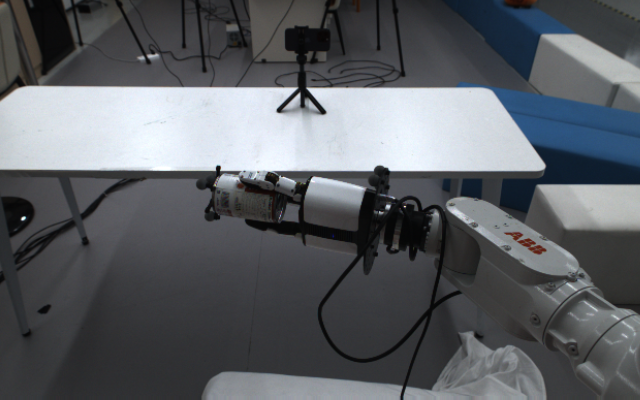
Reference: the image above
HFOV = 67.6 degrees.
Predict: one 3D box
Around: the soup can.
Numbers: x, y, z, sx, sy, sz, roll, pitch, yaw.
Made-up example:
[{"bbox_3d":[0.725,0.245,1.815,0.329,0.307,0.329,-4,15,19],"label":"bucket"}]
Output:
[{"bbox_3d":[-0.107,-0.002,0.751,0.101,0.067,0.067,8,35,9],"label":"soup can"}]
